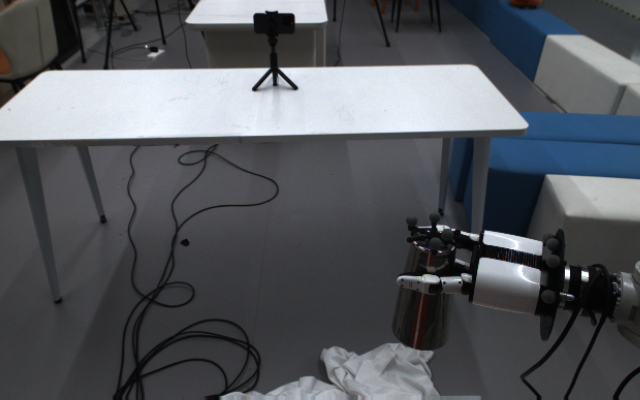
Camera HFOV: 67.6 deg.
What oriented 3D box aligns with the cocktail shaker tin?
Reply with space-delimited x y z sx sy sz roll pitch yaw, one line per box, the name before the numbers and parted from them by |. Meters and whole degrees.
cocktail shaker tin | 0.168 0.132 0.752 0.093 0.170 0.093 1 27 -1
